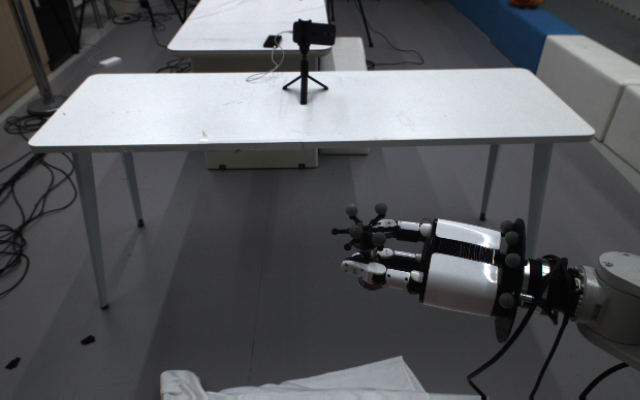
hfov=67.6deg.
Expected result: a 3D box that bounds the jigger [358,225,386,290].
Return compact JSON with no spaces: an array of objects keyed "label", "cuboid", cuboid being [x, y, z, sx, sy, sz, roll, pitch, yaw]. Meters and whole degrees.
[{"label":"jigger","cuboid":[0.070,0.079,0.659,0.043,0.071,0.043,-9,31,5]}]
